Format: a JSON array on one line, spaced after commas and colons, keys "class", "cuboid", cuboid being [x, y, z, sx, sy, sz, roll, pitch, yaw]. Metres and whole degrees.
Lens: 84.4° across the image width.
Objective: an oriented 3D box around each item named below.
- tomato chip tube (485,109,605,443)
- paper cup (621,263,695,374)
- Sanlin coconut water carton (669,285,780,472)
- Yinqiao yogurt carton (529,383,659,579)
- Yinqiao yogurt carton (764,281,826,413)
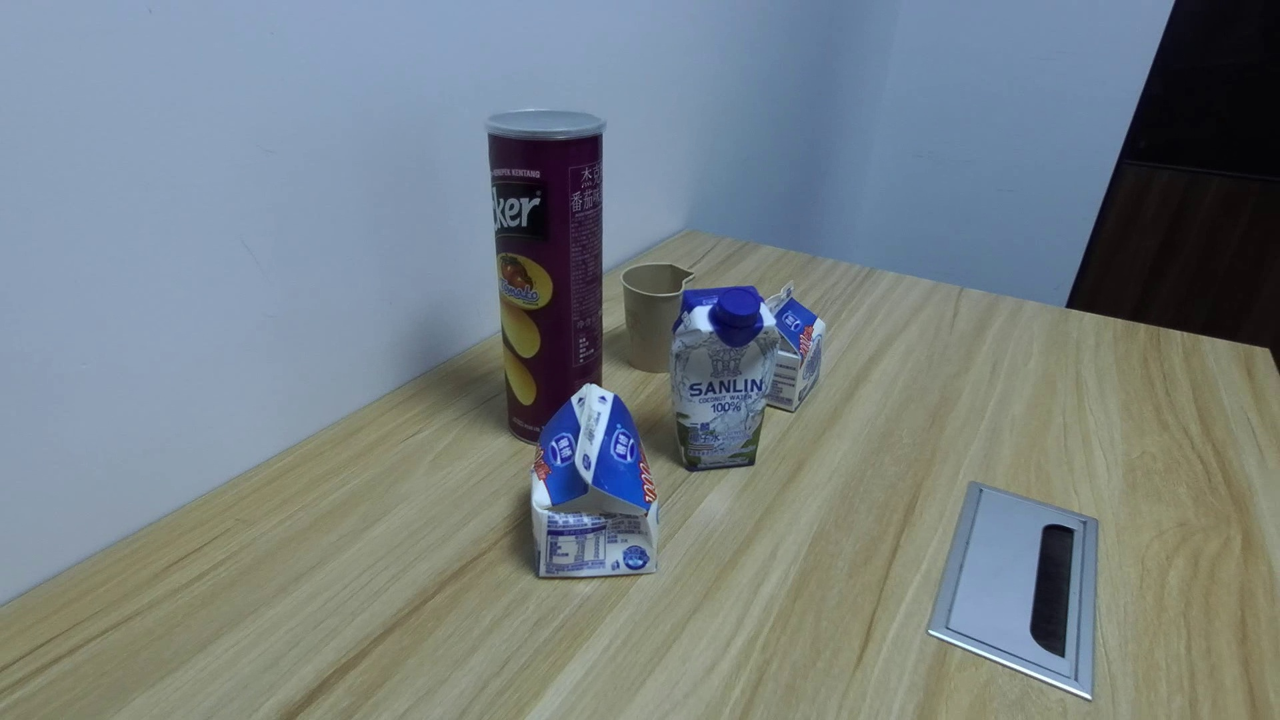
[{"class": "tomato chip tube", "cuboid": [-0.063, -0.053, 0.514, 0.078, 0.234, 0.078, 1, 29, 0]}, {"class": "paper cup", "cuboid": [0.017, -0.036, 0.647, 0.069, 0.081, 0.073, -22, 35, -34]}, {"class": "Sanlin coconut water carton", "cuboid": [0.058, 0.010, 0.500, 0.078, 0.142, 0.057, -4, 34, -11]}, {"class": "Yinqiao yogurt carton", "cuboid": [-0.028, 0.070, 0.435, 0.077, 0.093, 0.083, -1, 29, -5]}, {"class": "Yinqiao yogurt carton", "cuboid": [0.116, -0.018, 0.605, 0.073, 0.092, 0.076, 15, 29, 26]}]
